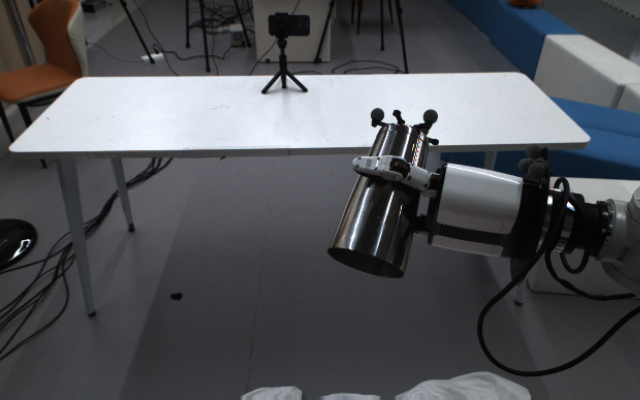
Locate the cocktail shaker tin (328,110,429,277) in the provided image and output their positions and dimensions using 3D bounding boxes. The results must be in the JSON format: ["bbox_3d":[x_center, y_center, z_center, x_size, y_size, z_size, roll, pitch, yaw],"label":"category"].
[{"bbox_3d":[0.078,-0.004,0.579,0.093,0.093,0.170,14,70,16],"label":"cocktail shaker tin"}]
